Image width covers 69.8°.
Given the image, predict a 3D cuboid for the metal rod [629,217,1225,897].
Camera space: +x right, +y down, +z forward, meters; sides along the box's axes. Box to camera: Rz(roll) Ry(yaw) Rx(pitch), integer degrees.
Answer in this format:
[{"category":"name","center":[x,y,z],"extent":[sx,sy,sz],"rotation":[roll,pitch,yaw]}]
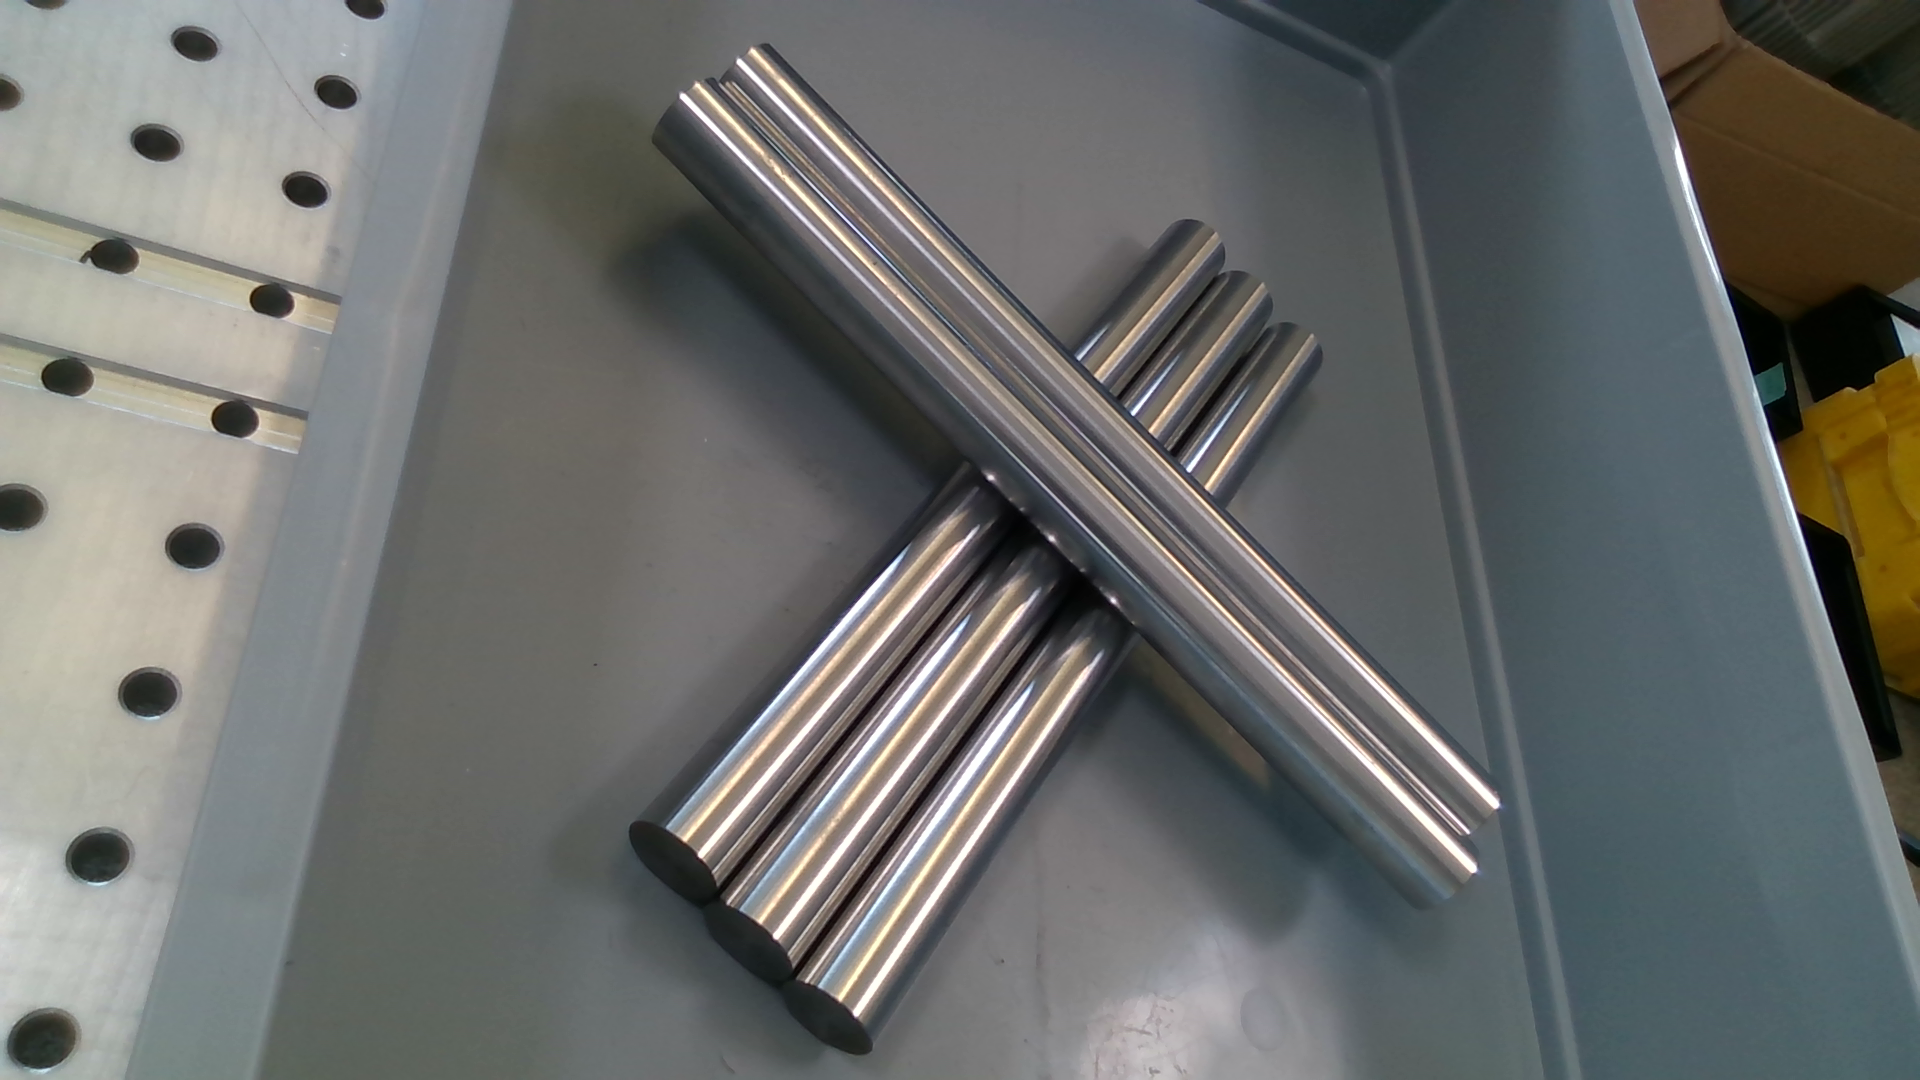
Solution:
[{"category":"metal rod","center":[0.010,-0.017,0.407],"extent":[0.025,0.025,0.299],"rotation":[44,51,-4]}]

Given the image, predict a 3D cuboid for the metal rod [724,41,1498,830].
[{"category":"metal rod","center":[0.044,-0.026,0.401],"extent":[0.300,0.025,0.025],"rotation":[45,51,-3]}]

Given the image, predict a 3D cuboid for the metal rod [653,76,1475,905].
[{"category":"metal rod","center":[0.031,-0.011,0.385],"extent":[0.300,0.025,0.025],"rotation":[45,51,-3]}]

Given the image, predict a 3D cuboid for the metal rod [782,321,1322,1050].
[{"category":"metal rod","center":[0.045,0.020,0.409],"extent":[0.025,0.025,0.299],"rotation":[44,51,-4]}]

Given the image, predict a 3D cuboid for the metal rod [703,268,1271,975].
[{"category":"metal rod","center":[0.026,0.001,0.407],"extent":[0.025,0.025,0.299],"rotation":[44,51,-4]}]
